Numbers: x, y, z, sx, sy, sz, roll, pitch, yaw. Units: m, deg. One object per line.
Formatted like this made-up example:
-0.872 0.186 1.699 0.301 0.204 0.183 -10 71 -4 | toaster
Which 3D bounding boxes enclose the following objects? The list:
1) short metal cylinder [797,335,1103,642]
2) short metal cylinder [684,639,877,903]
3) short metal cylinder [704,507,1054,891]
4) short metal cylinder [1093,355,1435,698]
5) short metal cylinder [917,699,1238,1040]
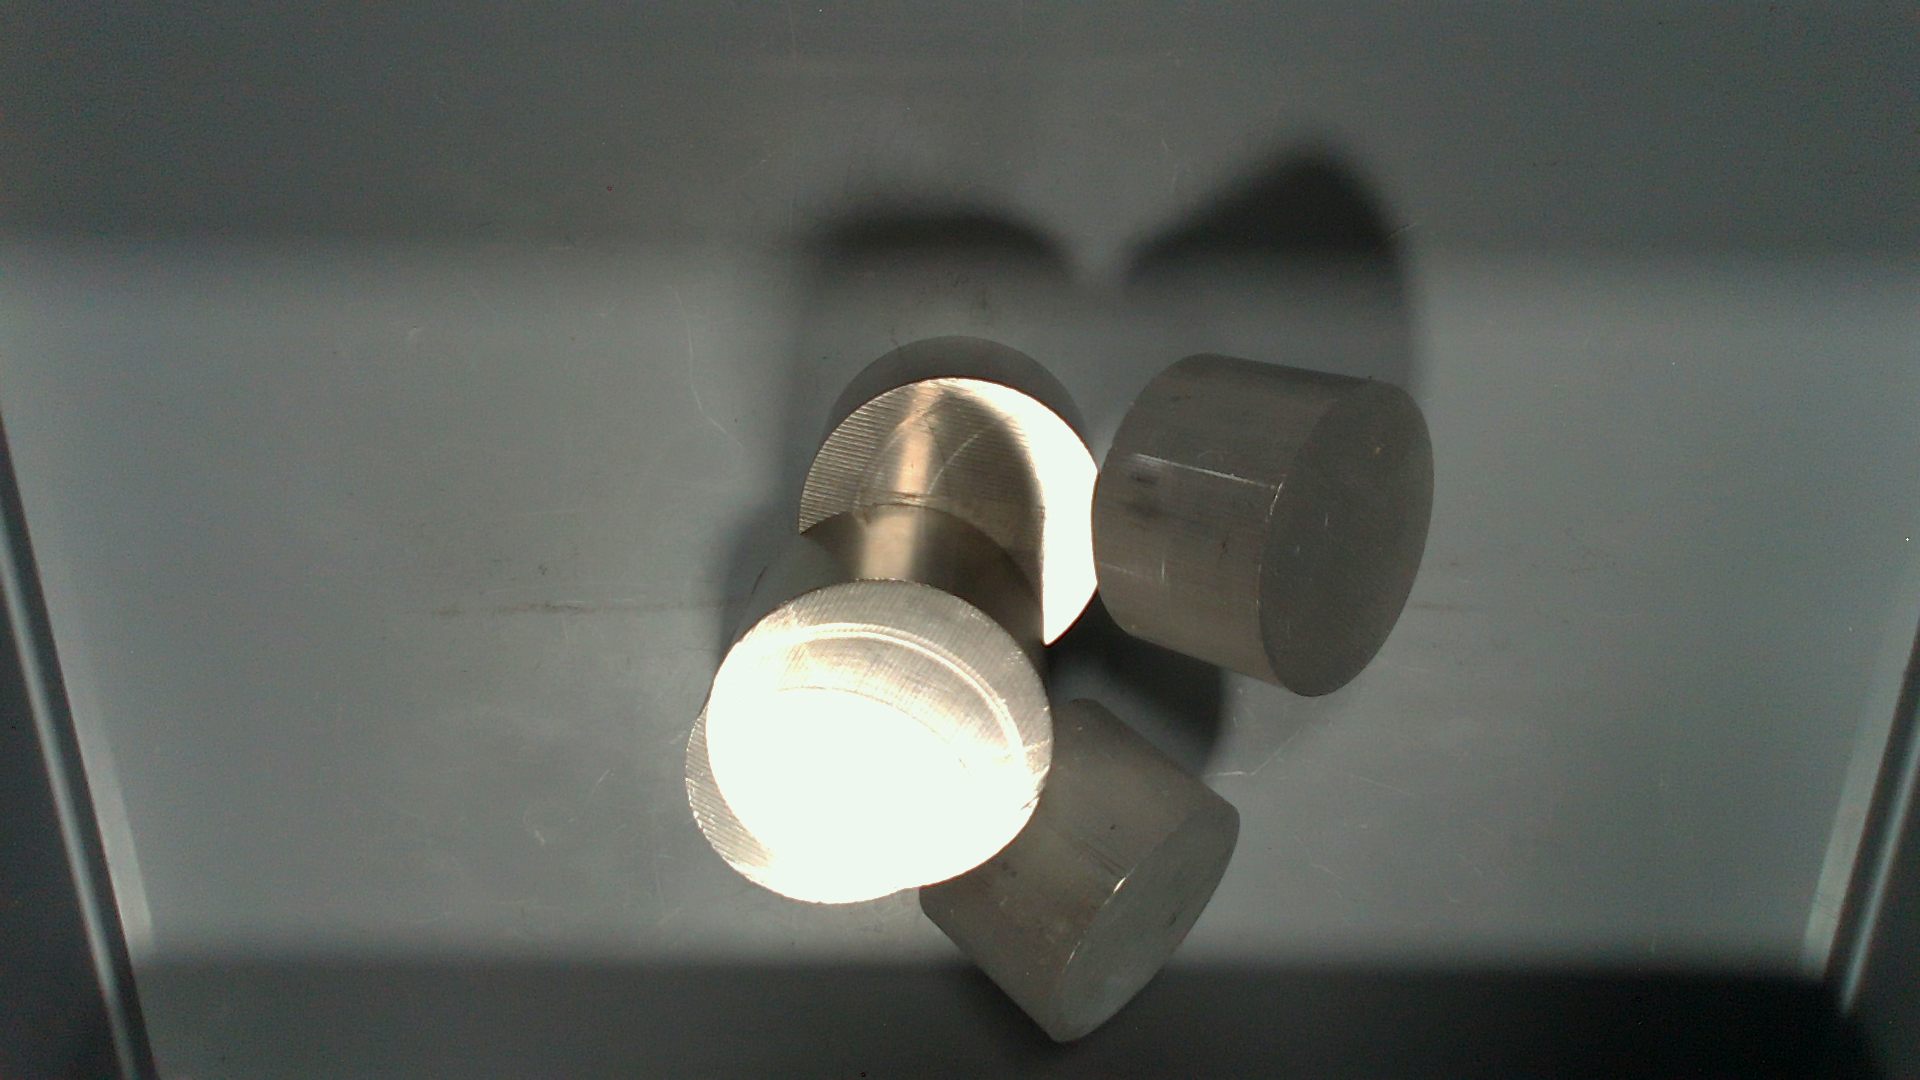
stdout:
-0.001 -0.011 0.375 0.080 0.050 0.080 0 110 0 | short metal cylinder
-0.036 0.057 0.401 0.080 0.050 0.080 0 110 0 | short metal cylinder
-0.018 0.038 0.339 0.080 0.050 0.080 0 110 0 | short metal cylinder
0.080 -0.005 0.356 0.080 0.050 0.080 -17 115 -41 | short metal cylinder
0.034 0.092 0.390 0.050 0.080 0.080 36 112 30 | short metal cylinder
